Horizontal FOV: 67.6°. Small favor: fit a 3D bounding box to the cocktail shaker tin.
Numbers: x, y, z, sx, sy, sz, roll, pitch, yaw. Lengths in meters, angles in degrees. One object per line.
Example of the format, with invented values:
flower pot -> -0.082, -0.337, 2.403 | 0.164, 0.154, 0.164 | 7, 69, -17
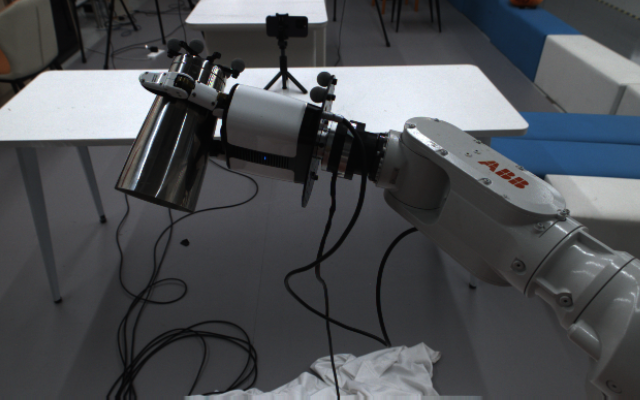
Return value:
cocktail shaker tin -> -0.164, -0.081, 0.572 | 0.093, 0.093, 0.170 | 13, 80, 15
